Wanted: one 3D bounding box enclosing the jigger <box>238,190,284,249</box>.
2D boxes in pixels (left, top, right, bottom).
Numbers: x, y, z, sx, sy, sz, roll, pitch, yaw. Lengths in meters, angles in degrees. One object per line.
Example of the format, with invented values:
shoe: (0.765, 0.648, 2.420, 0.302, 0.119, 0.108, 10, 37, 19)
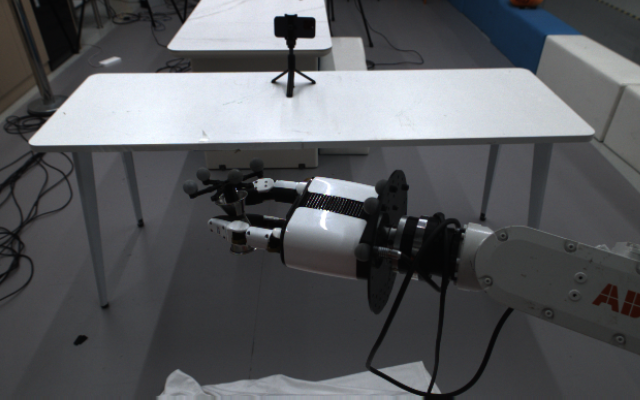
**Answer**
jigger: (-0.097, 0.027, 0.591, 0.043, 0.071, 0.043, -12, 24, 5)
